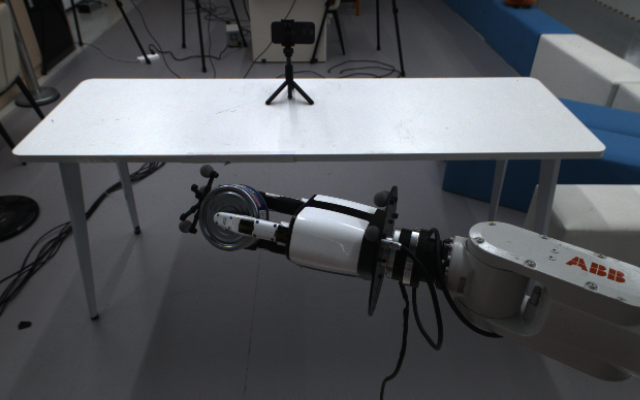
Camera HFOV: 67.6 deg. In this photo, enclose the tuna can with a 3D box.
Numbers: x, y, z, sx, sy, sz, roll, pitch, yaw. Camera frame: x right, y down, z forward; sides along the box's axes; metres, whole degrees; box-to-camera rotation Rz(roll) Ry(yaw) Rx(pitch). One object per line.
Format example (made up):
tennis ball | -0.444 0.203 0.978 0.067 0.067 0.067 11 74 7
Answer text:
tuna can | -0.108 0.028 0.621 0.085 0.085 0.034 12 5 14
